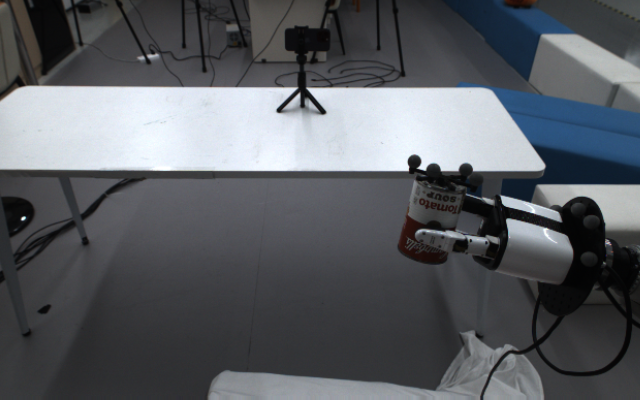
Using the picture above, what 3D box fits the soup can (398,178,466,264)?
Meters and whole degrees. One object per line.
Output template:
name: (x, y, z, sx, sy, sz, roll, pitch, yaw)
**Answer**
soup can: (0.147, 0.021, 0.631, 0.067, 0.101, 0.067, 9, 20, -3)
